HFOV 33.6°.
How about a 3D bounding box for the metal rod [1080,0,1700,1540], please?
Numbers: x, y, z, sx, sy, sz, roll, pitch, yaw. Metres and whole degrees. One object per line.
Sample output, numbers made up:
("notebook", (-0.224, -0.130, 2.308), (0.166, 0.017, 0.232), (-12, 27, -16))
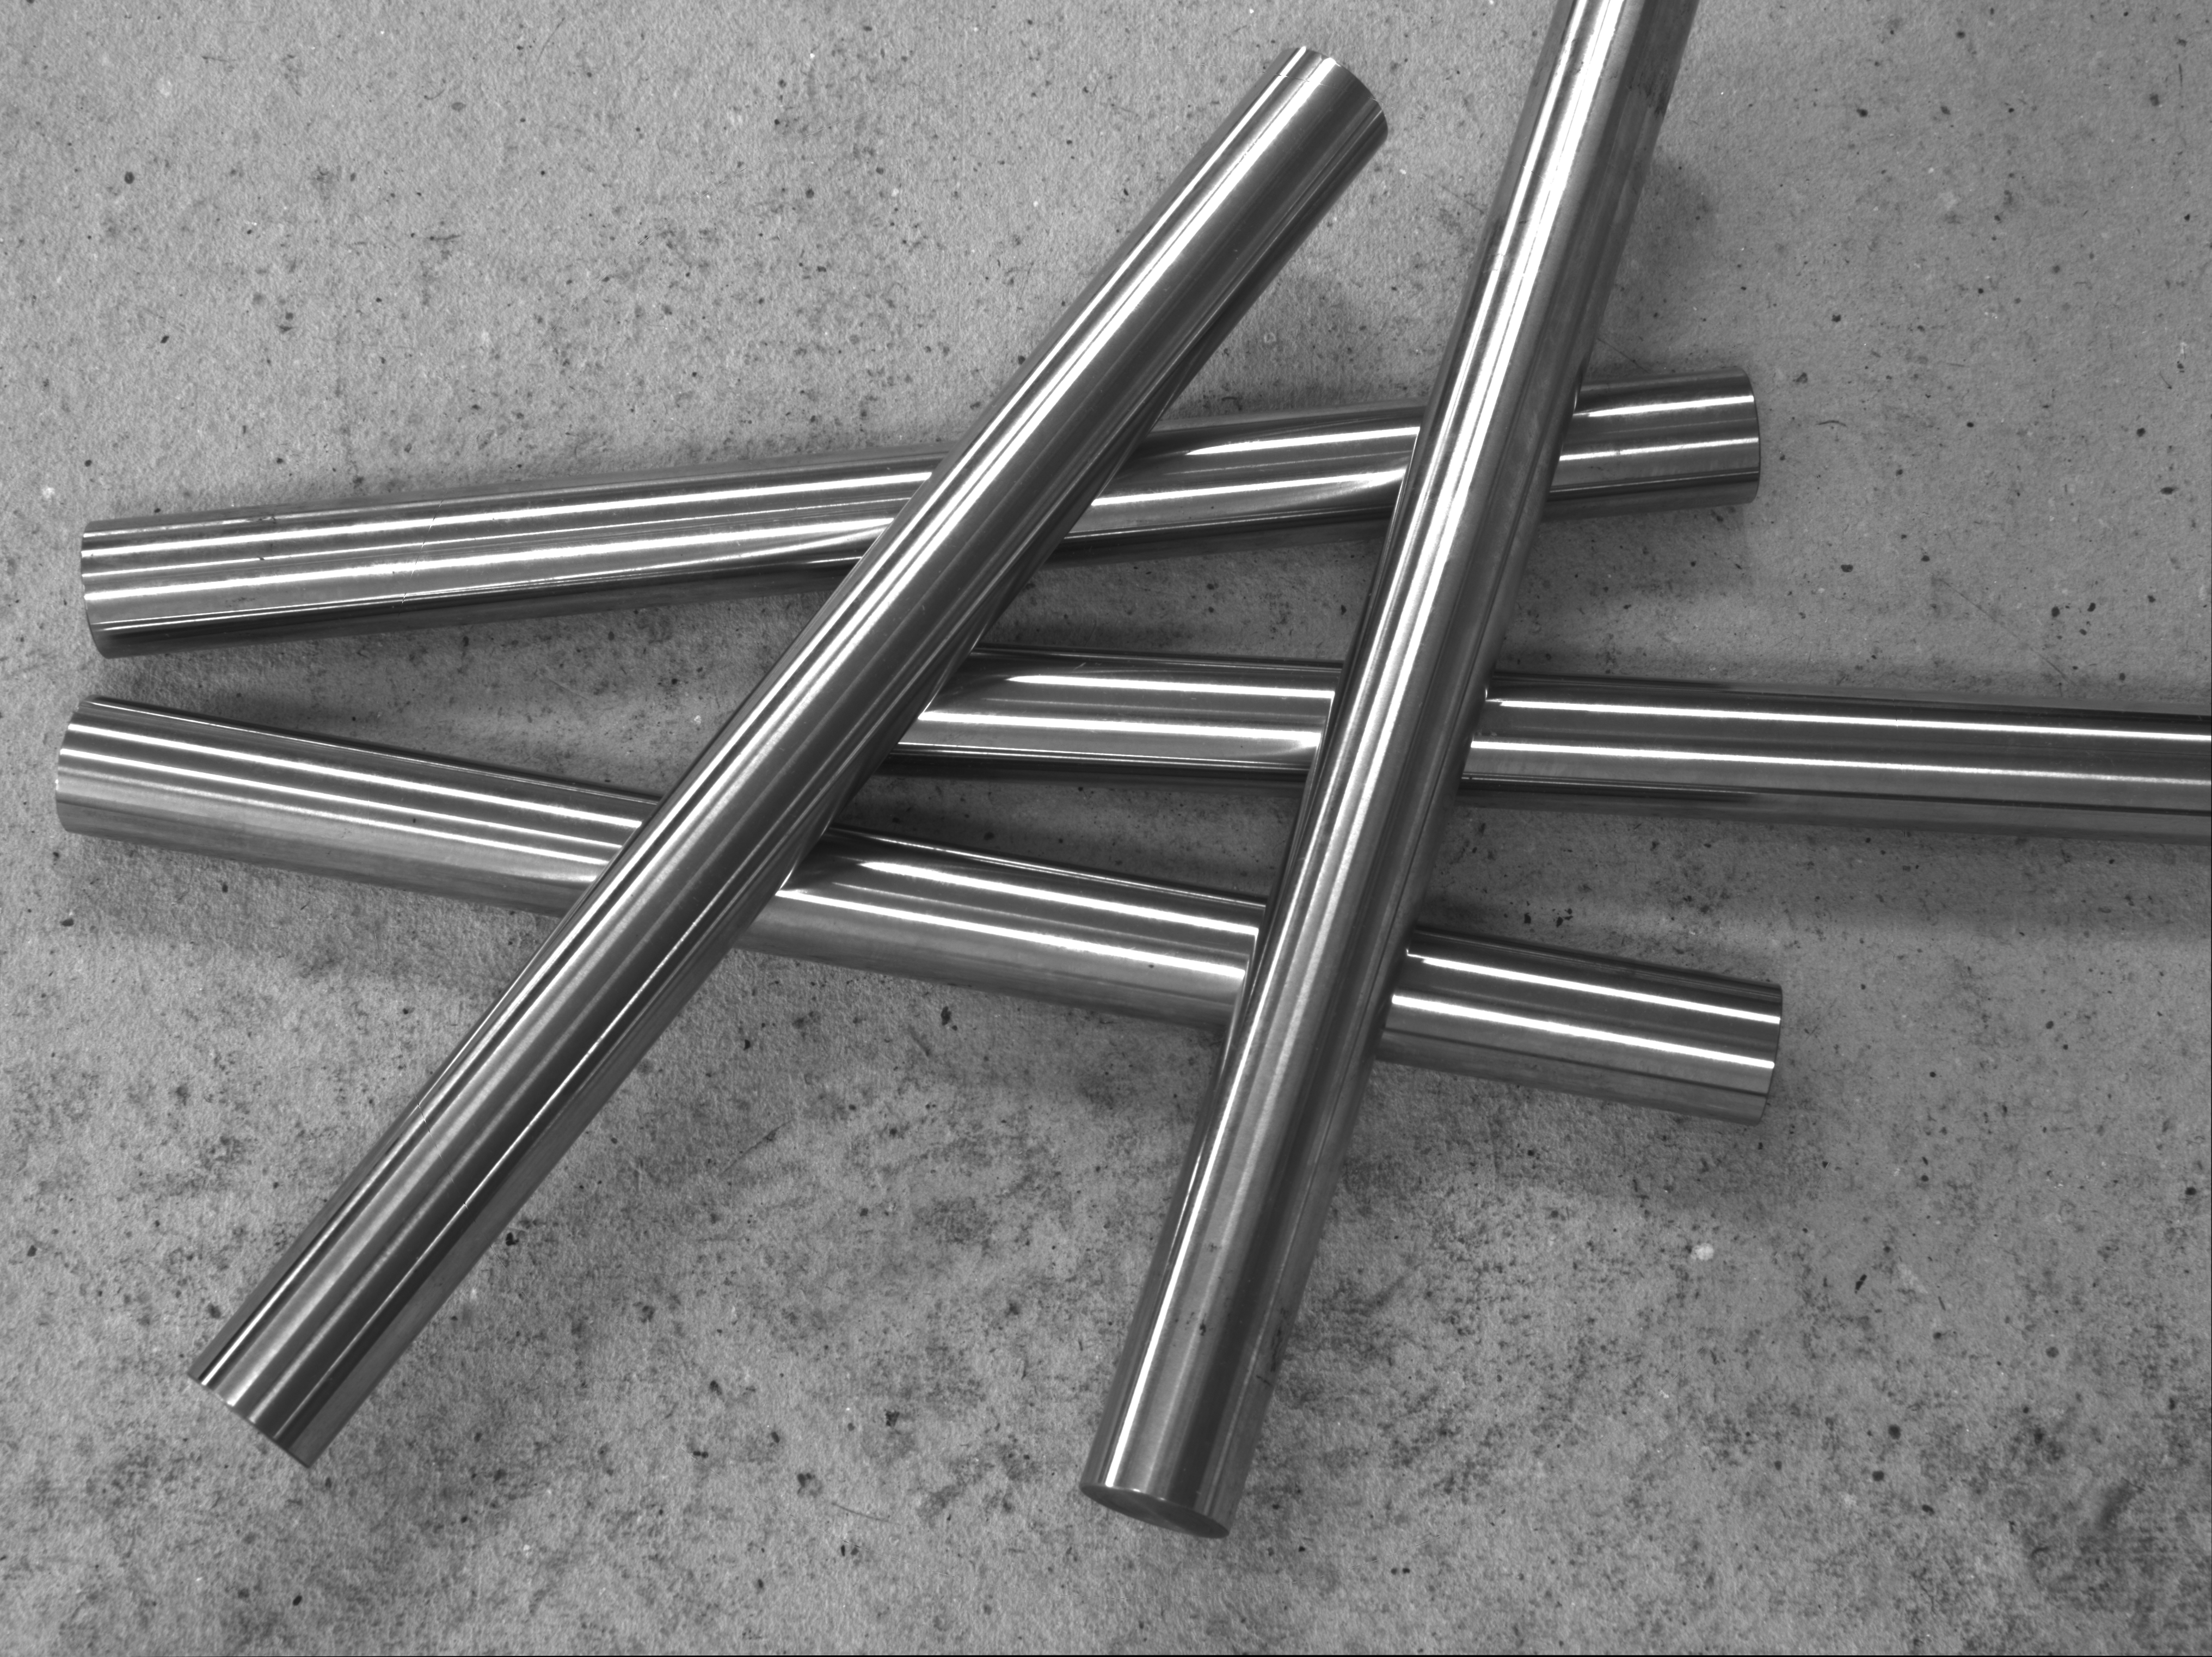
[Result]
("metal rod", (0.053, -0.026, 0.628), (0.025, 0.025, 0.300), (17, 71, 6))

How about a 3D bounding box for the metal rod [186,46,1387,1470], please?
("metal rod", (-0.048, -0.019, 0.625), (0.025, 0.025, 0.300), (34, 73, 12))

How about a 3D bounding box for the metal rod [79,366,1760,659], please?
("metal rod", (-0.032, -0.058, 0.666), (0.300, 0.025, 0.025), (-6, 70, -2))

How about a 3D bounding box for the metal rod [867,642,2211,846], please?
("metal rod", (0.097, -0.014, 0.650), (0.300, 0.025, 0.025), (3, 70, 1))

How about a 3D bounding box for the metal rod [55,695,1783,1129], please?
("metal rod", (-0.034, 0.014, 0.640), (0.300, 0.025, 0.025), (10, 70, 3))
